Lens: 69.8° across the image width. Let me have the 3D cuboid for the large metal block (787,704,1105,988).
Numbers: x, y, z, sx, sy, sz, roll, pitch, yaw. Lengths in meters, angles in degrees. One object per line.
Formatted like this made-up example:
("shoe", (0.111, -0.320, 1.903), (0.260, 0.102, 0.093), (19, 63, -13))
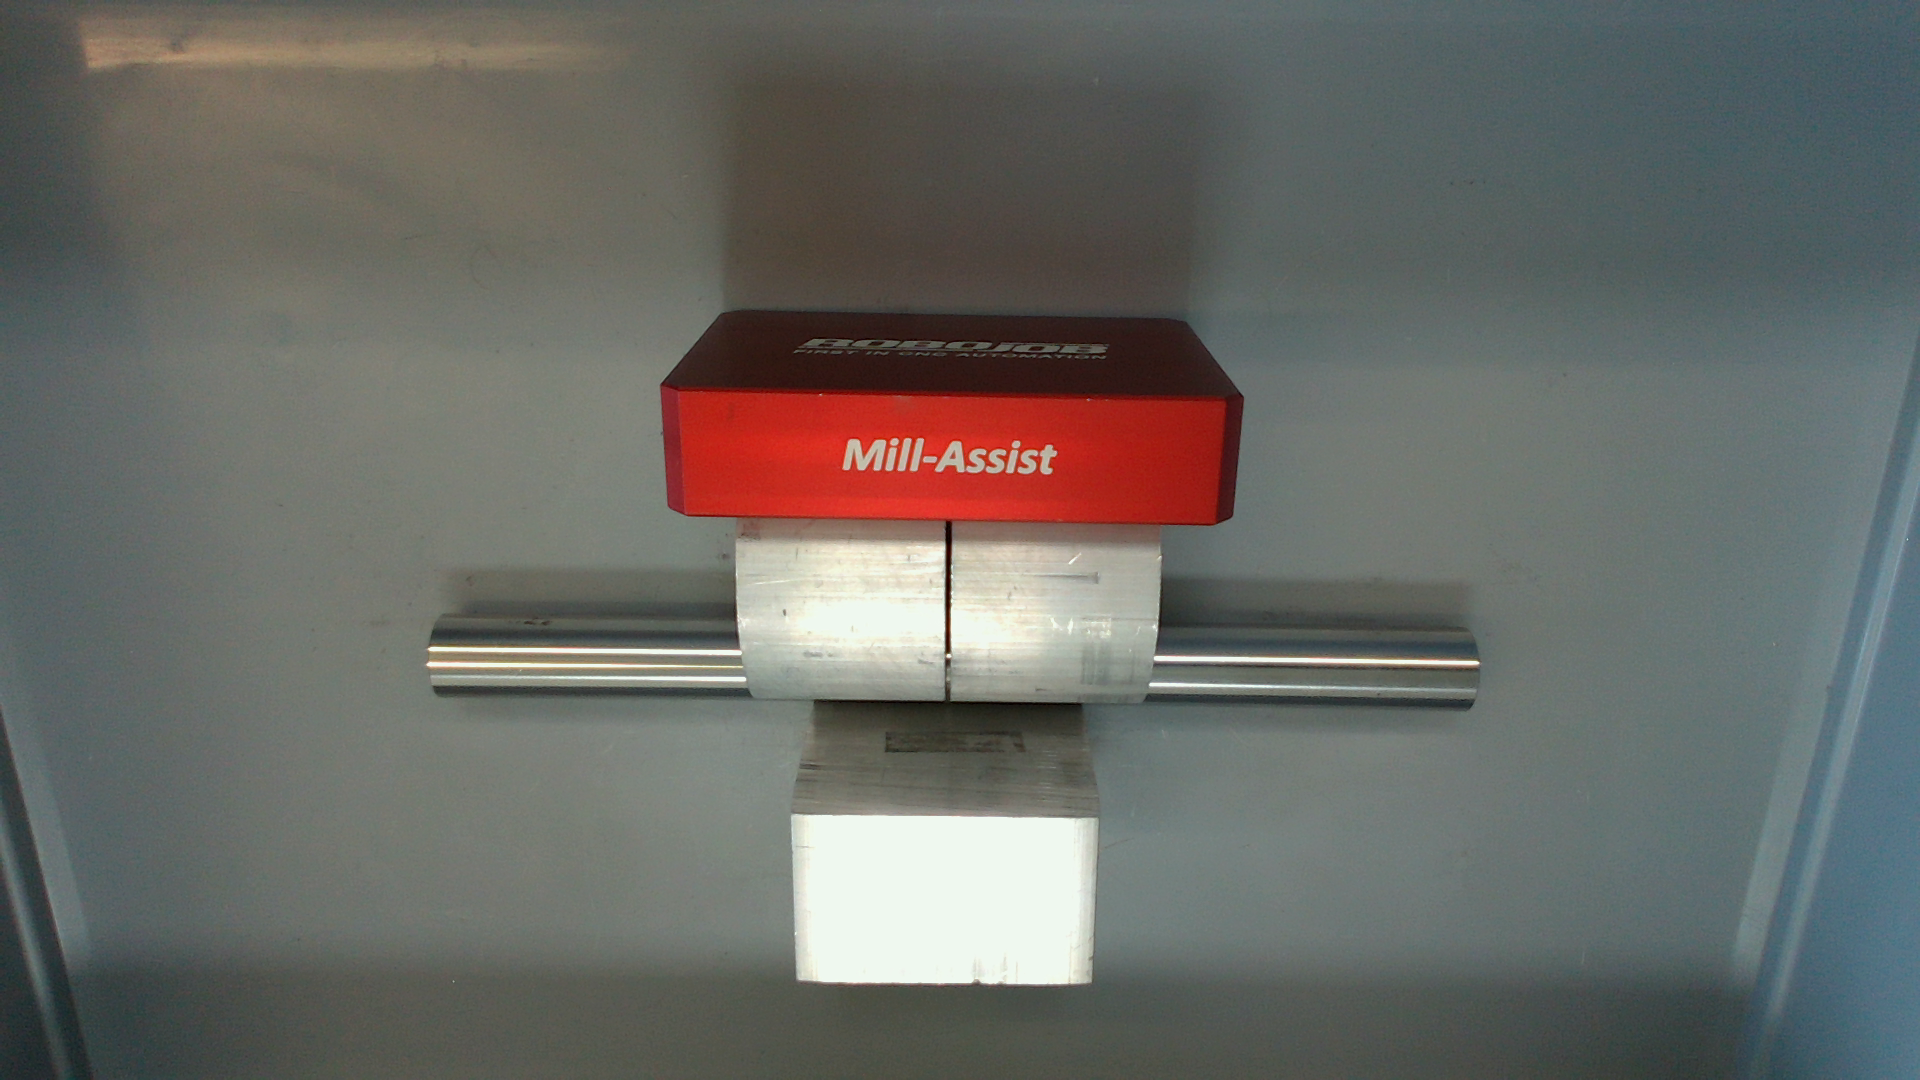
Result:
("large metal block", (-0.004, 0.081, 0.393), (0.080, 0.080, 0.050), (1, 110, 0))

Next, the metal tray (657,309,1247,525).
("metal tray", (-0.002, -0.034, 0.346), (0.130, 0.090, 0.030), (1, 110, -1))

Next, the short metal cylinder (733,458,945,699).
("short metal cylinder", (-0.029, 0.002, 0.365), (0.050, 0.080, 0.080), (0, 110, 0))

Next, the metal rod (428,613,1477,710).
("metal rod", (-0.002, 0.036, 0.406), (0.300, 0.025, 0.025), (1, 110, -1))

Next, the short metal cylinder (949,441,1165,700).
("short metal cylinder", (0.023, 0.002, 0.365), (0.050, 0.080, 0.080), (1, 110, 0))
